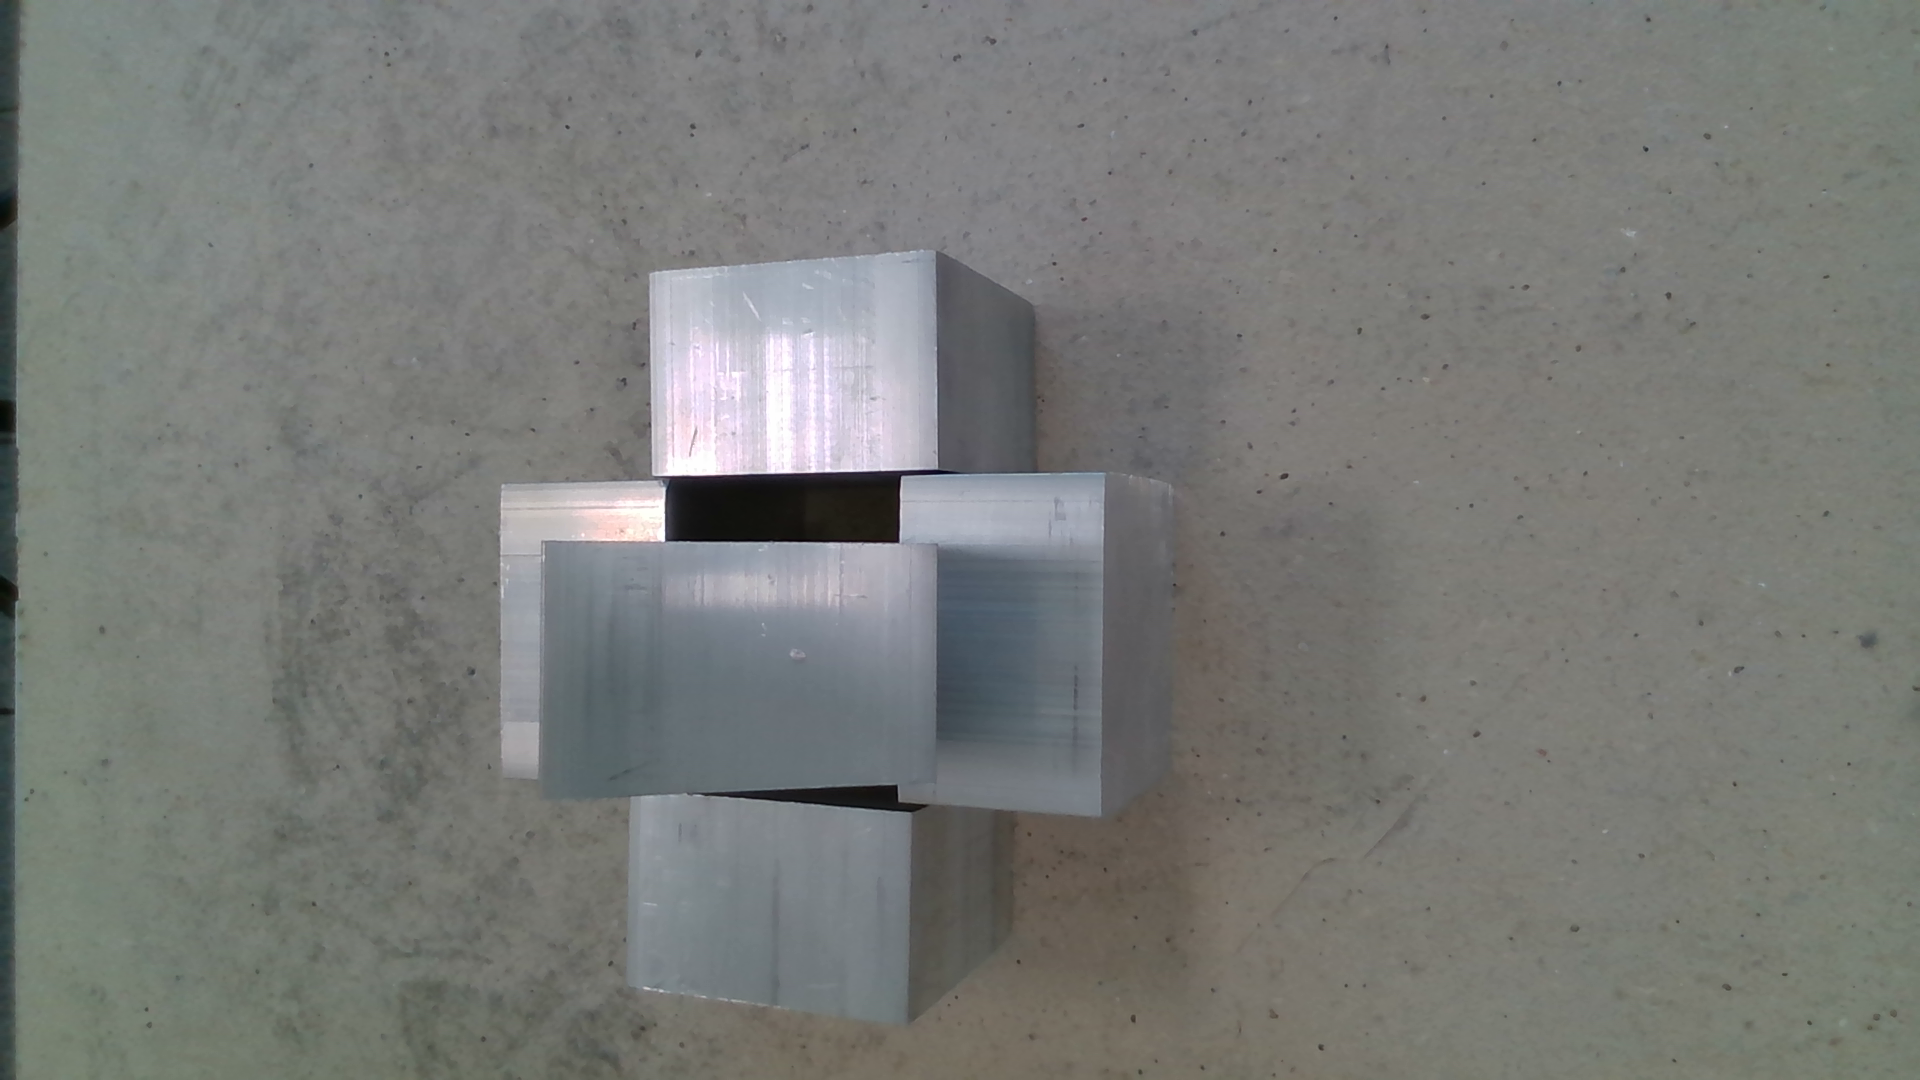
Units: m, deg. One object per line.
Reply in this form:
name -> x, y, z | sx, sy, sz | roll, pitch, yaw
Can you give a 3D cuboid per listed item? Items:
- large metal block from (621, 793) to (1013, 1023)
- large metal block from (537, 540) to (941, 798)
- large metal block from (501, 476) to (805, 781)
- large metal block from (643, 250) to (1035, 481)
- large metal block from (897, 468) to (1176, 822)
large metal block -> -0.036, 0.089, 0.379 | 0.080, 0.080, 0.050 | 1, 91, 20
large metal block -> -0.053, 0.025, 0.315 | 0.080, 0.080, 0.050 | 1, 90, -14
large metal block -> -0.085, 0.024, 0.397 | 0.050, 0.080, 0.080 | 0, 90, 20
large metal block -> -0.030, -0.043, 0.374 | 0.080, 0.080, 0.050 | 0, 90, 20
large metal block -> 0.023, 0.024, 0.357 | 0.050, 0.080, 0.080 | 1, 90, 20
